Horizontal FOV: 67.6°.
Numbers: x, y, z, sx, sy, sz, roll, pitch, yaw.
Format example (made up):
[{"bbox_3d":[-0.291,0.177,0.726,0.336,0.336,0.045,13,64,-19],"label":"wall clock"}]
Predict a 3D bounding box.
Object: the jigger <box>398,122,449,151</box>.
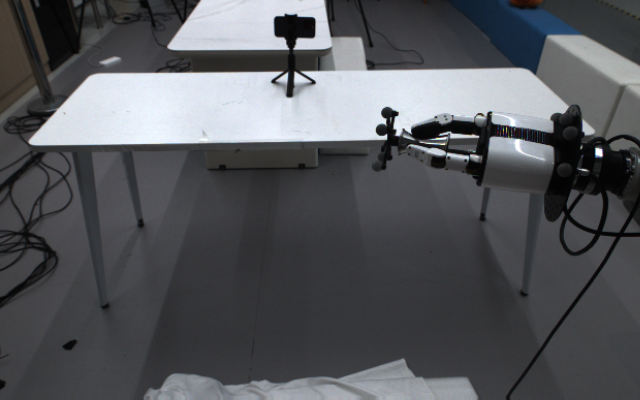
[{"bbox_3d":[0.156,-0.082,0.701,0.071,0.043,0.043,11,36,16],"label":"jigger"}]
